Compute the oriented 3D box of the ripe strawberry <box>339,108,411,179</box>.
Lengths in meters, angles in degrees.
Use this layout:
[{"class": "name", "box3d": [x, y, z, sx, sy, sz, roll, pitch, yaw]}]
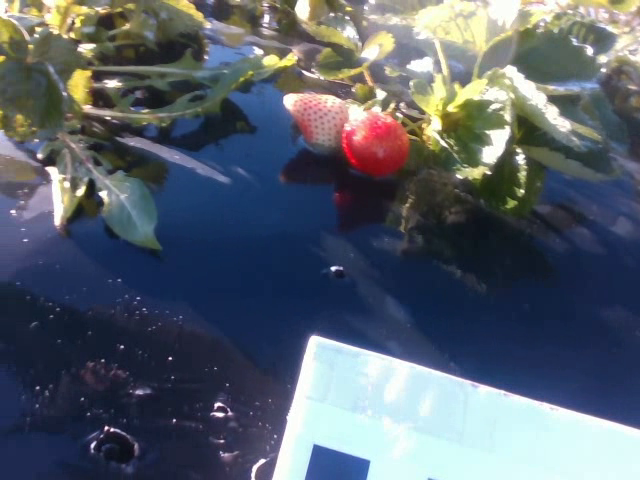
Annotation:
[{"class": "ripe strawberry", "box3d": [0.027, -0.054, 0.320, 0.040, 0.038, 0.055, -9, -12, 20]}]
